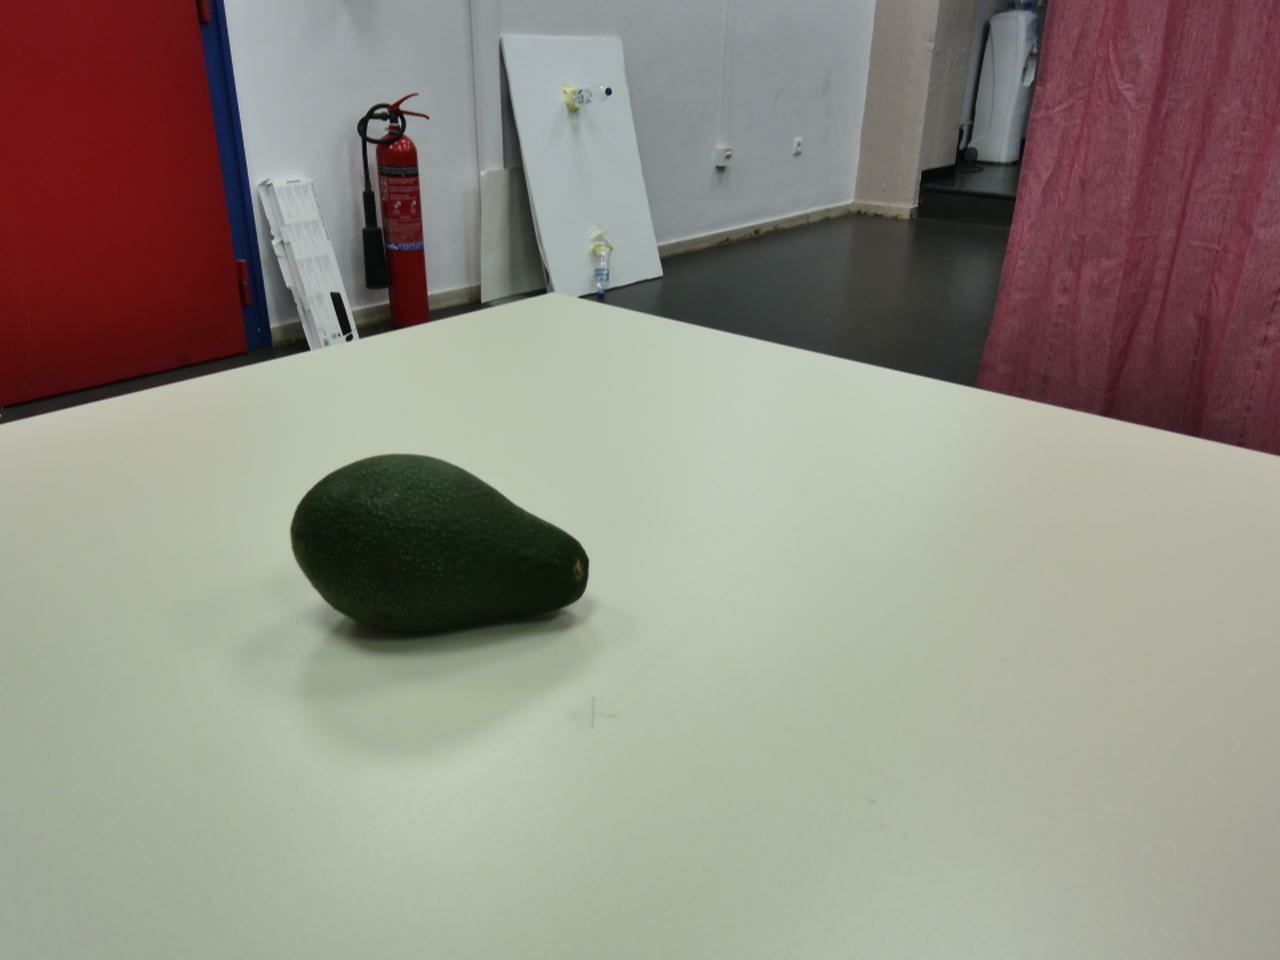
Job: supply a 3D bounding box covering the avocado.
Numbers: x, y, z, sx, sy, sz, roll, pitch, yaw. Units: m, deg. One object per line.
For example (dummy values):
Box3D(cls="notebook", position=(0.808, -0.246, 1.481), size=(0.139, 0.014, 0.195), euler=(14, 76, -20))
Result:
Box3D(cls="avocado", position=(-0.081, 0.026, 0.398), size=(0.110, 0.071, 0.072), euler=(7, 23, 14))
